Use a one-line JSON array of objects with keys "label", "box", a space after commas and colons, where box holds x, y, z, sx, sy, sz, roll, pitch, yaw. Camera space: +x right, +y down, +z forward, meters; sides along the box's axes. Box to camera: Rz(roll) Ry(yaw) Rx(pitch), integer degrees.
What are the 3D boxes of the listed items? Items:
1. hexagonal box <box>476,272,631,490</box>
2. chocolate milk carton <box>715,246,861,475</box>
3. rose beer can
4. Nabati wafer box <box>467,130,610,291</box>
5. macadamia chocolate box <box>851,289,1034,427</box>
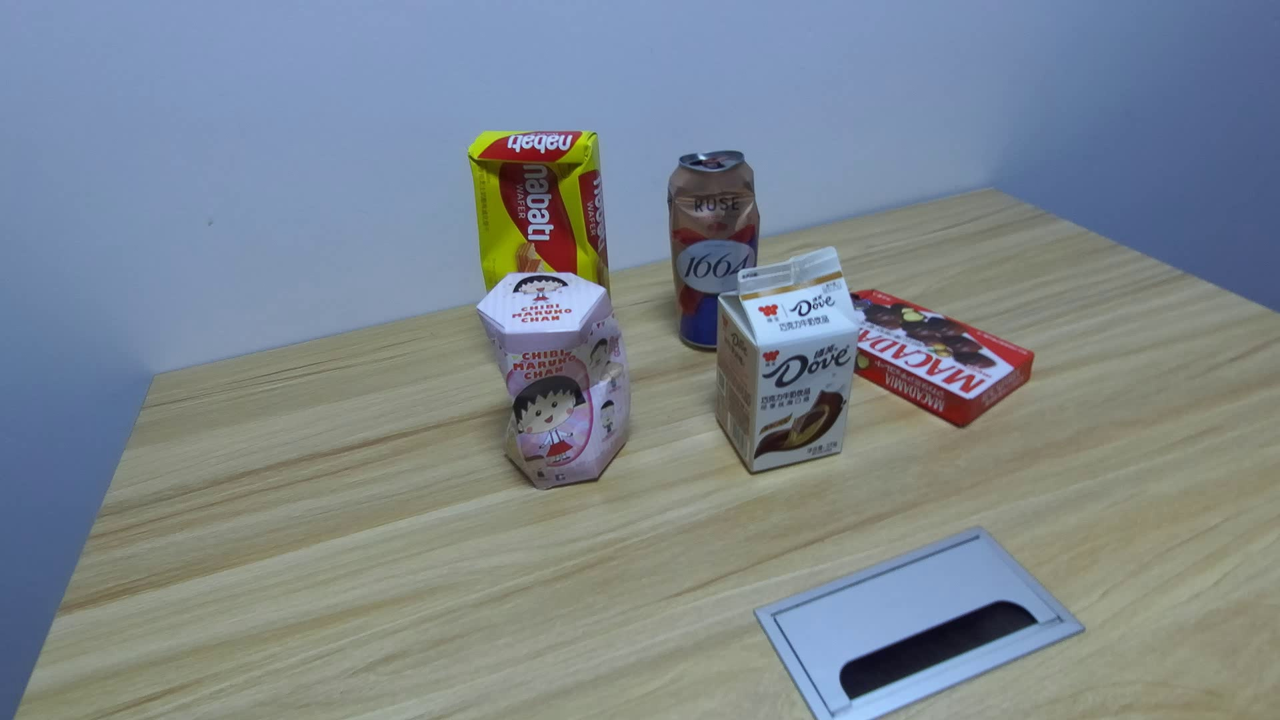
[{"label": "hexagonal box", "box": [-0.064, 0.015, 0.498, 0.089, 0.135, 0.093, -30, 42, -32]}, {"label": "chocolate milk carton", "box": [0.100, -0.006, 0.493, 0.075, 0.148, 0.074, -11, 35, -12]}, {"label": "rose beer can", "box": [0.066, -0.093, 0.609, 0.075, 0.167, 0.065, 3, 32, 17]}, {"label": "Nabati wafer box", "box": [-0.076, -0.079, 0.577, 0.096, 0.203, 0.042, 5, 32, 12]}, {"label": "macadamia chocolate box", "box": [0.224, -0.015, 0.605, 0.103, 0.027, 0.186, -25, 40, -29]}]
